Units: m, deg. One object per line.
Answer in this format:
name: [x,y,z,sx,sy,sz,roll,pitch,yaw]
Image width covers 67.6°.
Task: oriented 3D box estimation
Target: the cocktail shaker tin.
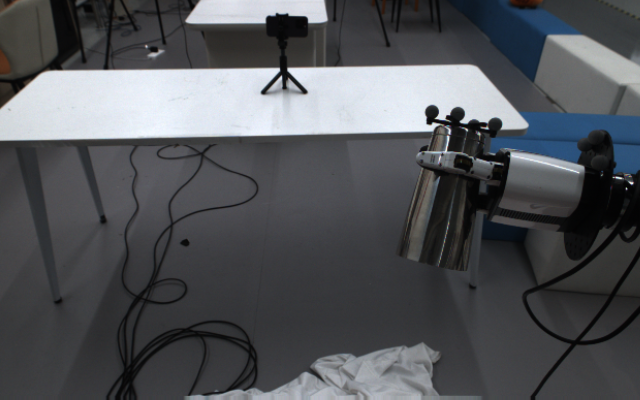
cocktail shaker tin: [0.164,-0.006,0.620,0.093,0.170,0.093,13,1,0]
